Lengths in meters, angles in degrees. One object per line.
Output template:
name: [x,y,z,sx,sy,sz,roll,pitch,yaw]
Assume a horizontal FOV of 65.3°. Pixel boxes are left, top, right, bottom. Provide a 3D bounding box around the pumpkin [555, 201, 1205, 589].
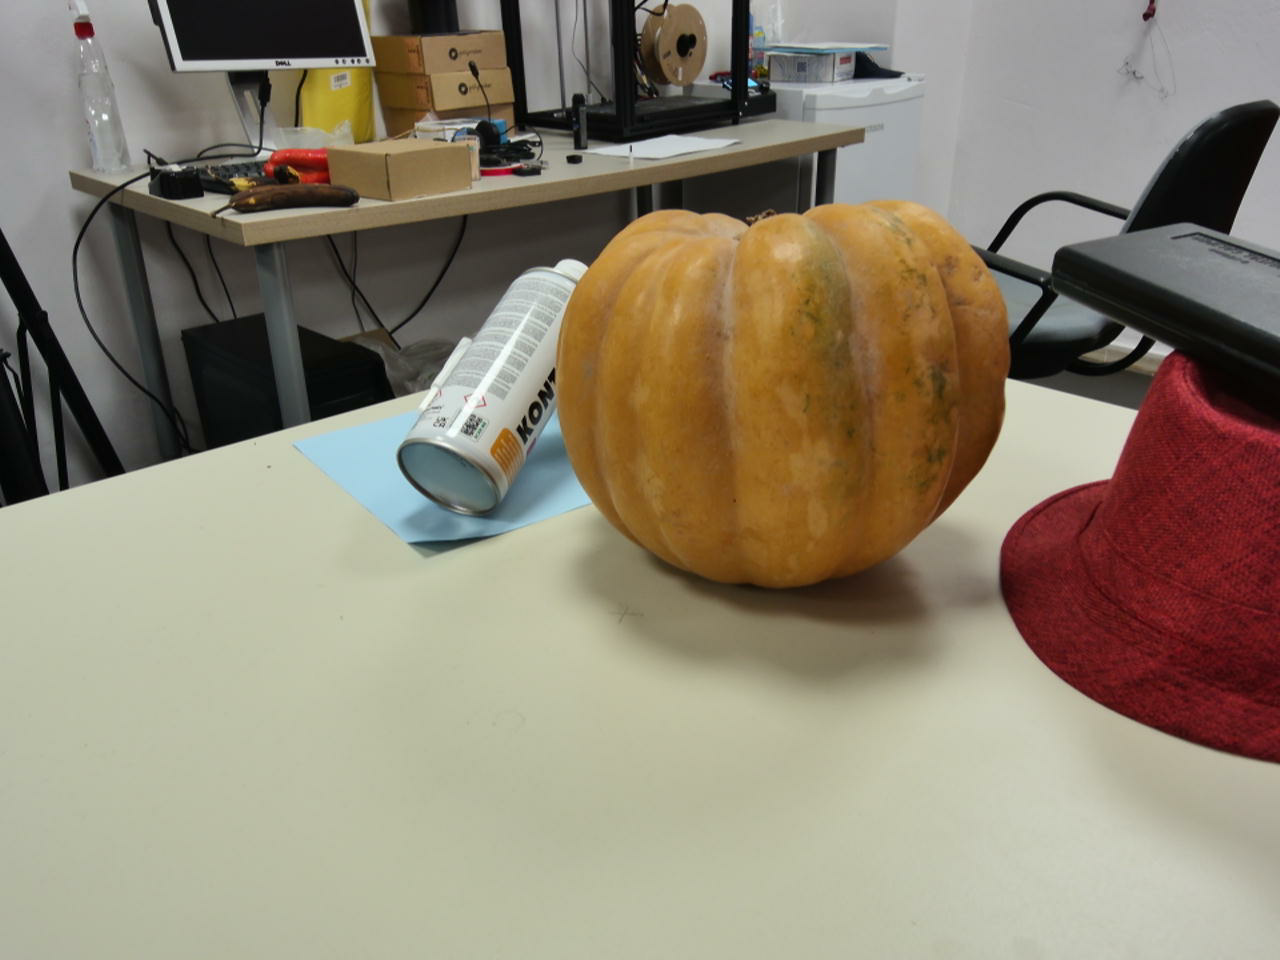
pumpkin: [0.070,-0.048,0.516,0.230,0.194,0.230,0,23,0]
